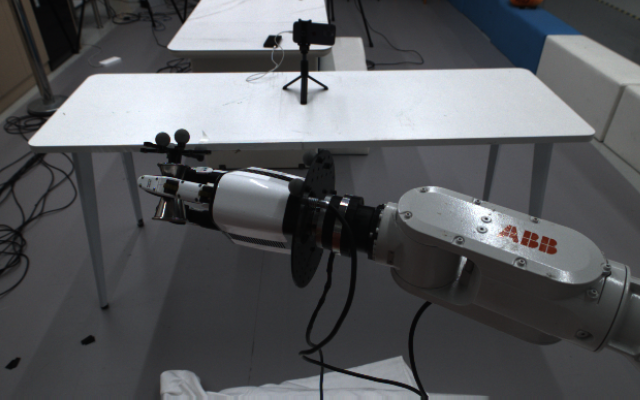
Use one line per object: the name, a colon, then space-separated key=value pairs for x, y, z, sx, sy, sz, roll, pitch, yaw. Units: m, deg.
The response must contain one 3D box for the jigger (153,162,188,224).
jigger: x=-0.179 y=-0.008 z=0.592 sx=0.043 sy=0.071 sz=0.043 roll=2 pitch=-6 yaw=0
